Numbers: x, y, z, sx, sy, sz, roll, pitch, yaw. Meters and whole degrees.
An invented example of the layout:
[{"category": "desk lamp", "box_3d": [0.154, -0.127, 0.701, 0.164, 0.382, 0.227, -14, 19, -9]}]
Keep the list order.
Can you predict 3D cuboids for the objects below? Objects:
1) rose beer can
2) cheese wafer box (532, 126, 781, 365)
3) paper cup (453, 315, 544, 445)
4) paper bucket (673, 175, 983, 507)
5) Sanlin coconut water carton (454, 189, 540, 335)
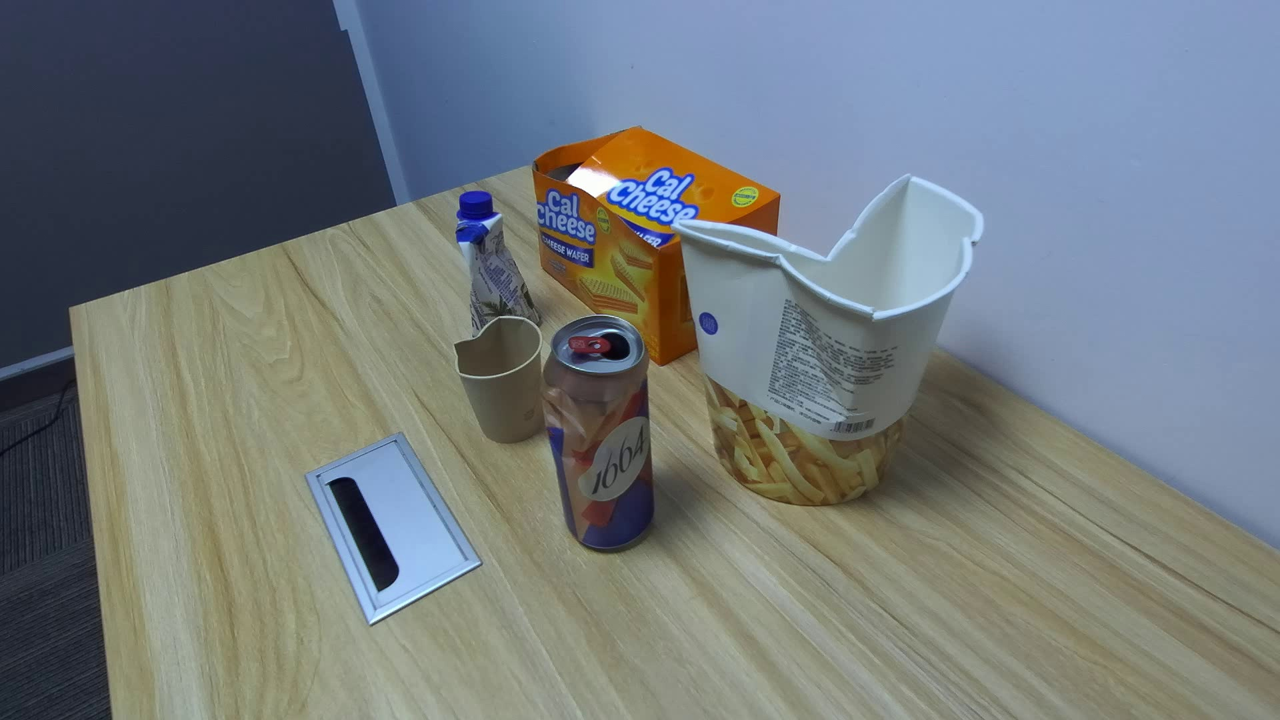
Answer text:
[{"category": "rose beer can", "box_3d": [-0.023, 0.054, 0.467, 0.065, 0.167, 0.076, 31, 47, 33]}, {"category": "cheese wafer box", "box_3d": [0.007, -0.123, 0.704, 0.153, 0.132, 0.229, -27, 46, -25]}, {"category": "paper cup", "box_3d": [-0.109, 0.023, 0.590, 0.069, 0.081, 0.073, -10, 31, -8]}, {"category": "paper bucket", "box_3d": [0.135, -0.017, 0.516, 0.163, 0.202, 0.168, -32, 50, -32]}, {"category": "Sanlin coconut water carton", "box_3d": [-0.146, -0.080, 0.654, 0.056, 0.145, 0.068, 8, 46, 27]}]
